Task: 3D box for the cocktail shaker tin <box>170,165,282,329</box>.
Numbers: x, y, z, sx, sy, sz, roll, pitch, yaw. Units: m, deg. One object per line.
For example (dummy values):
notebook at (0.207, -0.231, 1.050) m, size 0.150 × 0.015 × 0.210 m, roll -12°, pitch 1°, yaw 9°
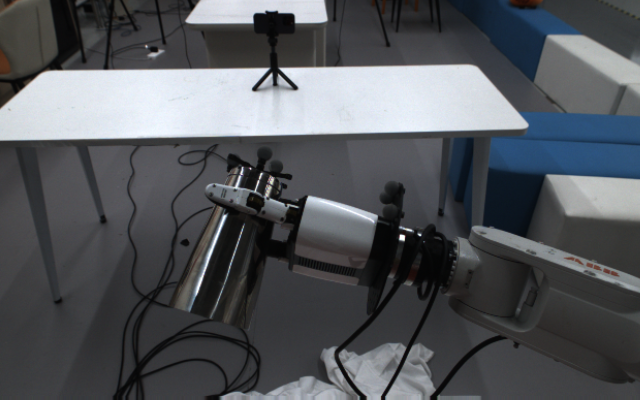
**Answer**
cocktail shaker tin at (-0.097, 0.051, 0.555) m, size 0.093 × 0.093 × 0.170 m, roll 12°, pitch 72°, yaw 14°
